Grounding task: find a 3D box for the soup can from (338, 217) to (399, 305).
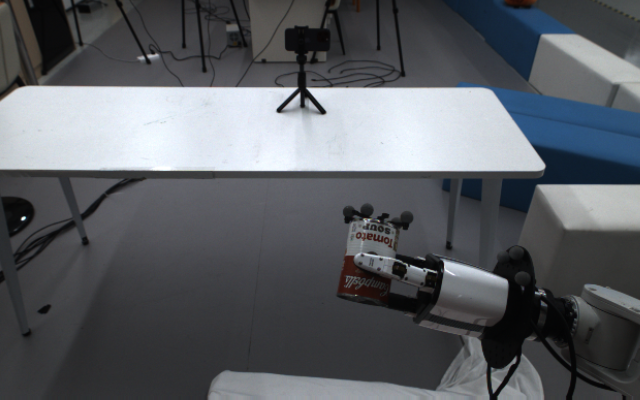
[{"bbox_3d":[0.066,0.080,0.631,0.067,0.067,0.101,9,74,9],"label":"soup can"}]
